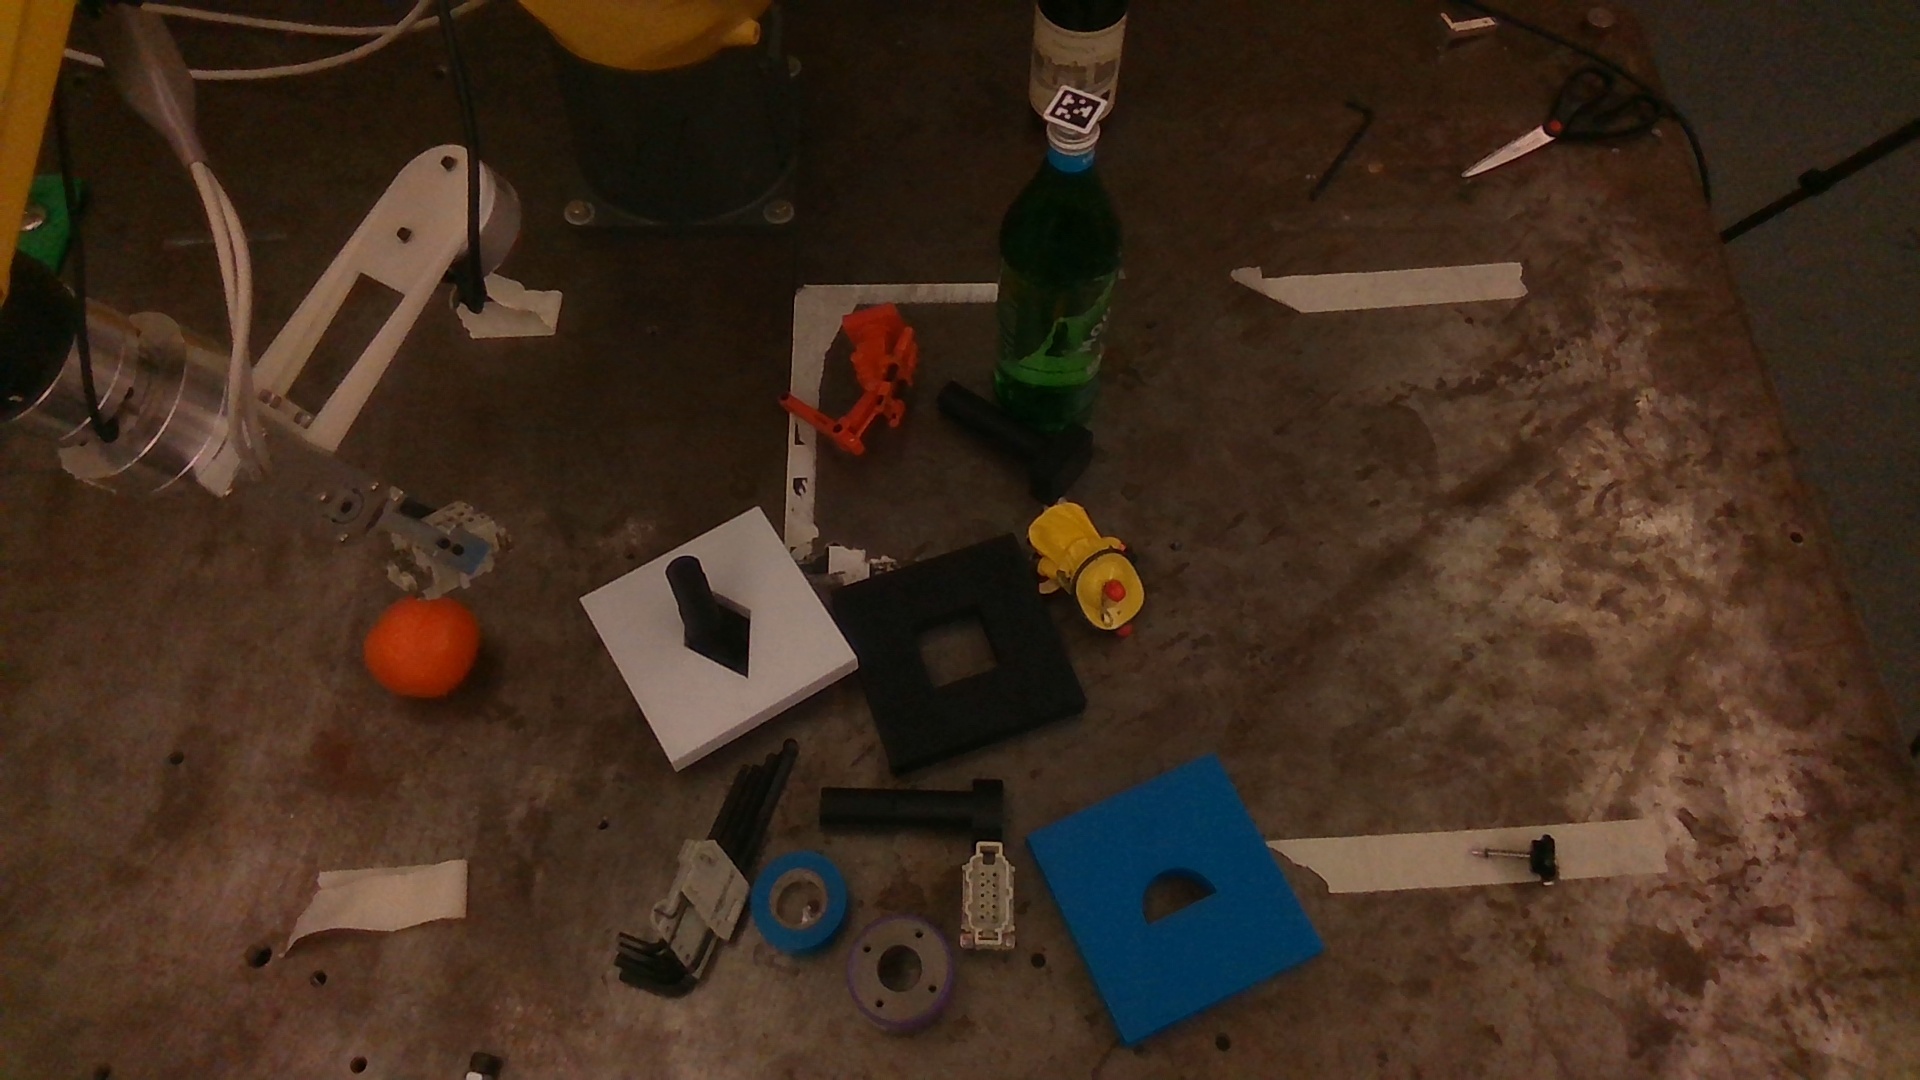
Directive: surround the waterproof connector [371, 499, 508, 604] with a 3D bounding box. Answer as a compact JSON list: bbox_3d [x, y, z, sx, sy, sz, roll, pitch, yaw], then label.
[{"bbox_3d":[-0.283,0.008,0.758,0.037,0.038,0.069,25,40,32],"label":"waterproof connector"}]
